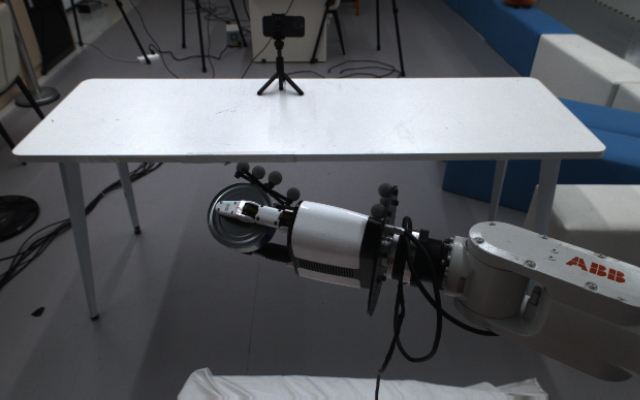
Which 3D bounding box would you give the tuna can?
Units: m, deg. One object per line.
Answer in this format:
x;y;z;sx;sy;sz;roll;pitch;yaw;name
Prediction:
-0.097;0.024;0.620;0.085;0.034;0.085;-2;71;6;tuna can
